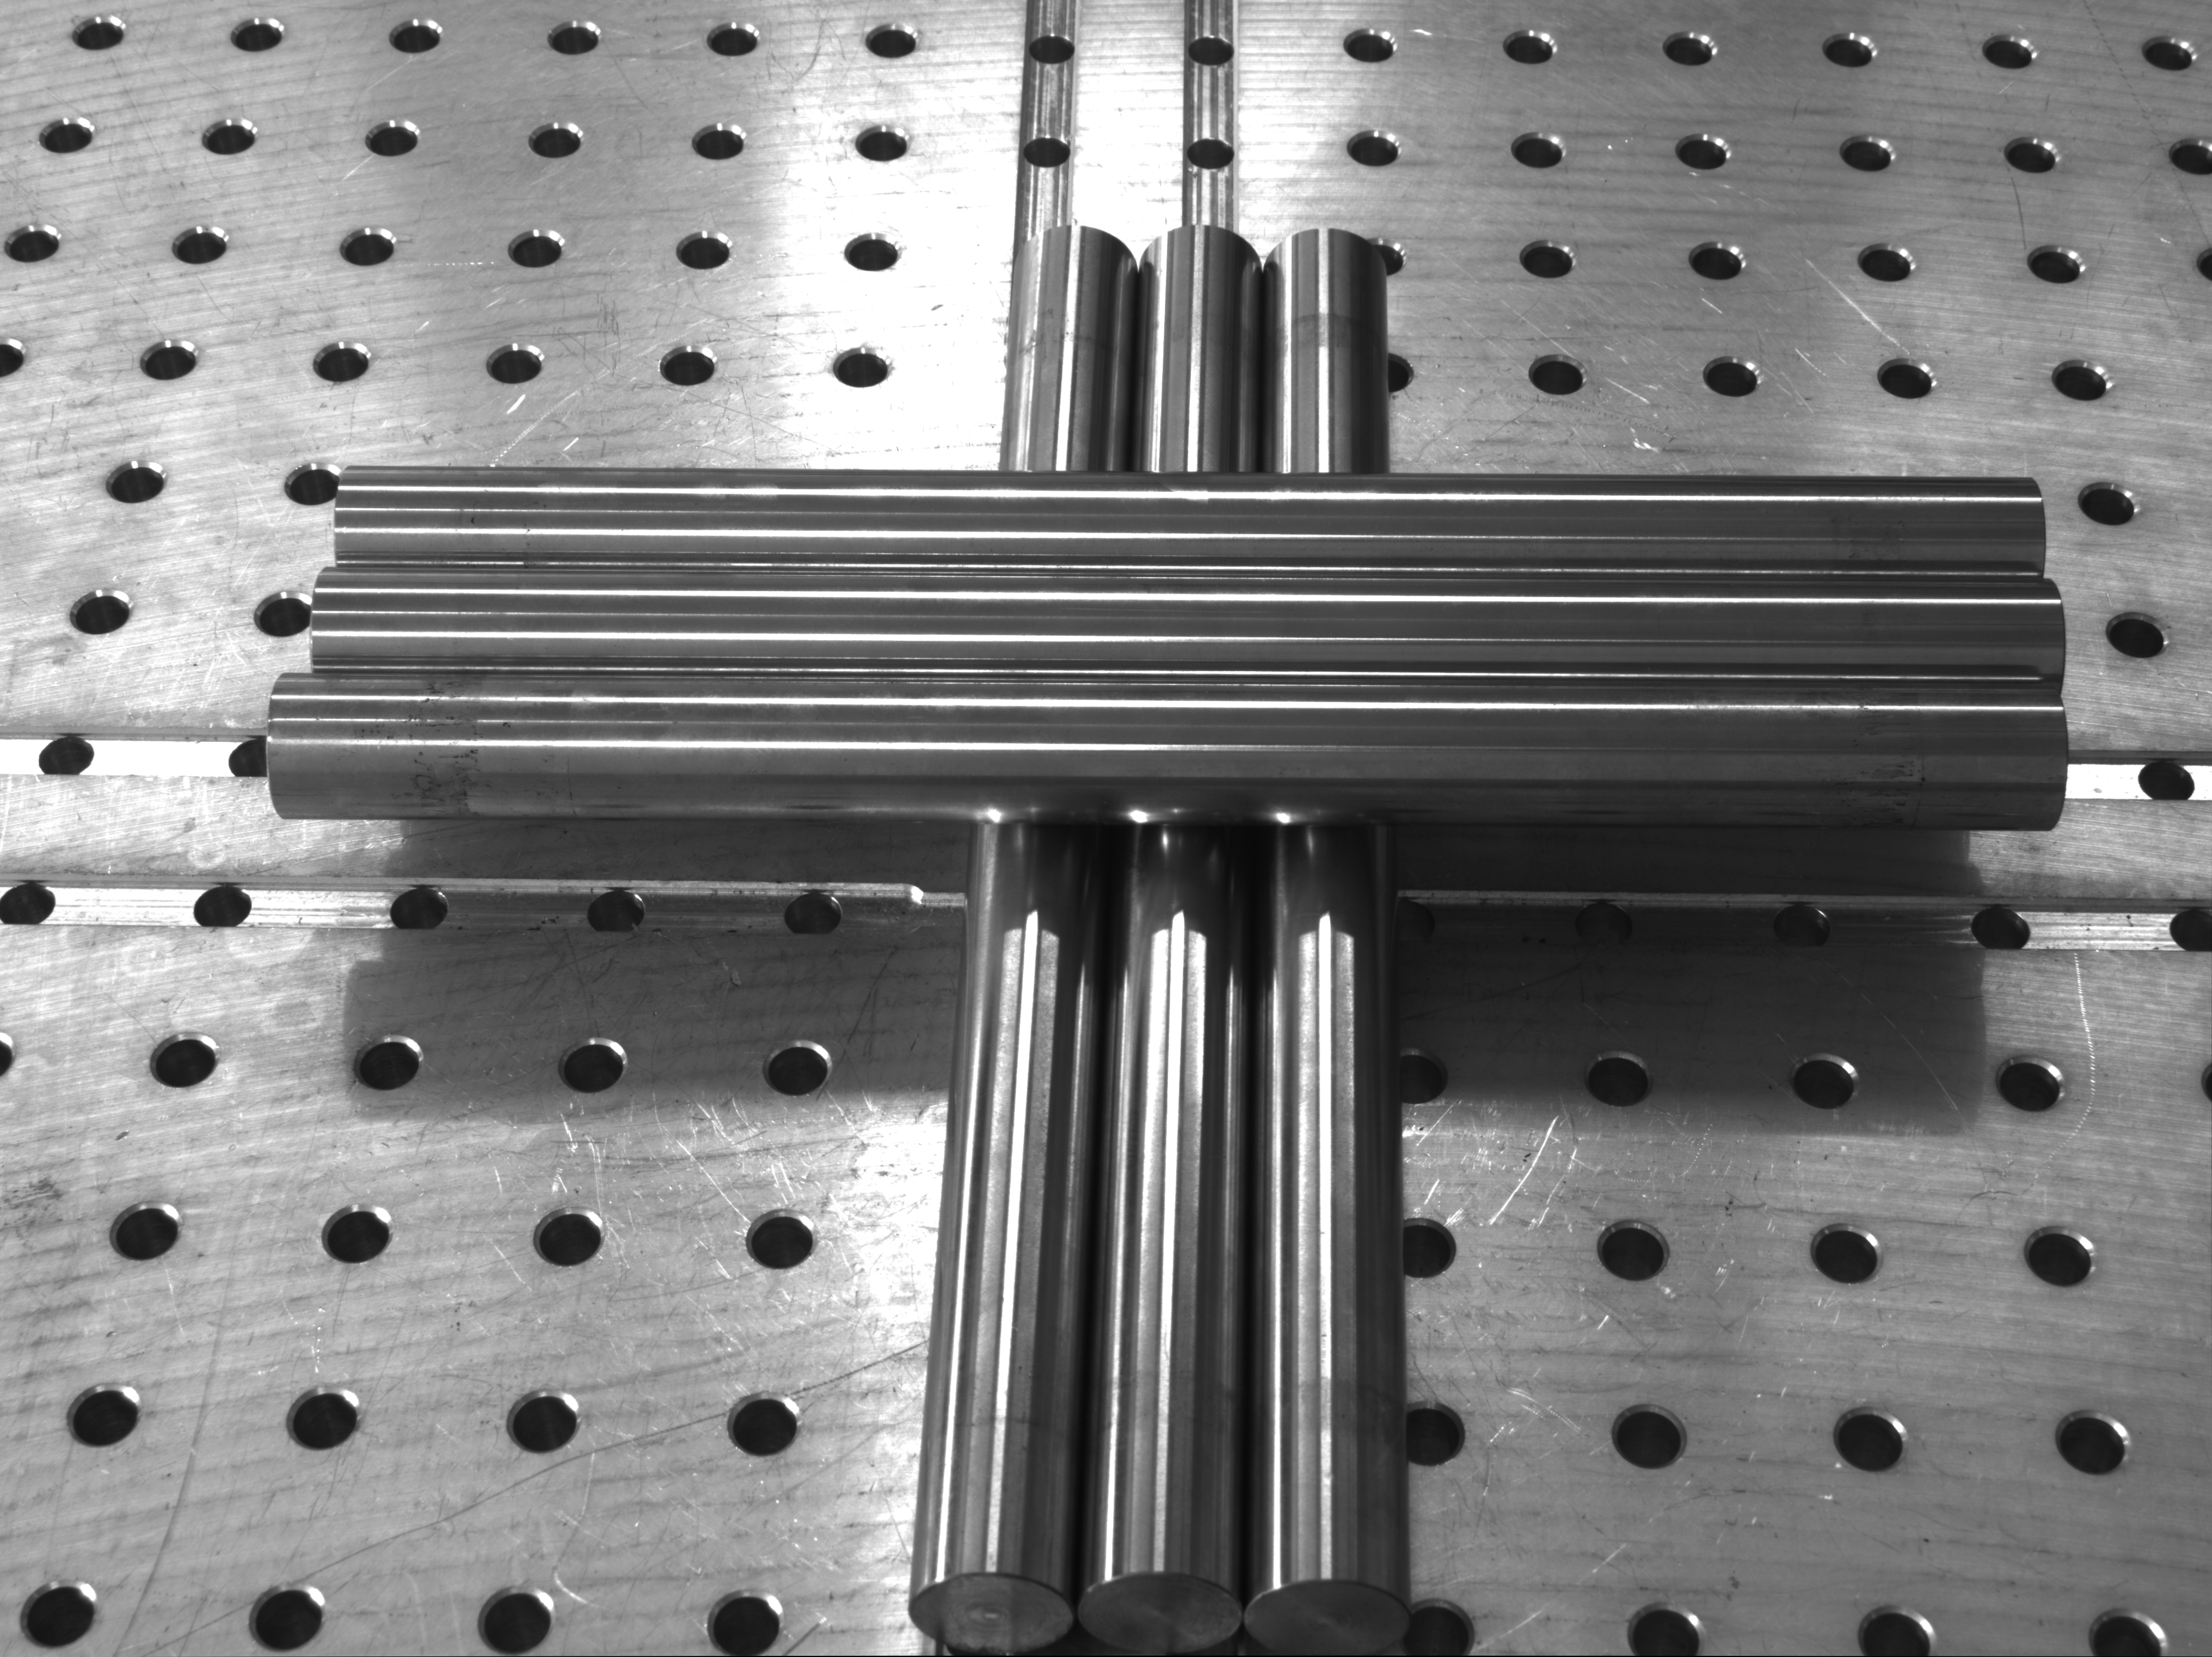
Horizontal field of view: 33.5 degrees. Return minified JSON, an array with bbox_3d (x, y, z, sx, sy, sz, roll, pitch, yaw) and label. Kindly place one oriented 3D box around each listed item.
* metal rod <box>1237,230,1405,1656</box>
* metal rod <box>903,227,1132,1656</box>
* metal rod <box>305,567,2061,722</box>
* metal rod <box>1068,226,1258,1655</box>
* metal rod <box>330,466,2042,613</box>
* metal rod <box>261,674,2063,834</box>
[{"bbox_3d":[0.038,0.004,0.643,0.025,0.025,0.300,2,50,2],"label":"metal rod"},{"bbox_3d":[-0.012,0.003,0.643,0.025,0.025,0.300,2,50,2],"label":"metal rod"},{"bbox_3d":[0.013,-0.032,0.640,0.300,0.025,0.025,0,50,0],"label":"metal rod"},{"bbox_3d":[0.013,0.003,0.644,0.025,0.025,0.300,2,50,2],"label":"metal rod"},{"bbox_3d":[0.014,-0.051,0.656,0.300,0.025,0.025,0,50,0],"label":"metal rod"},{"bbox_3d":[0.009,-0.013,0.624,0.300,0.025,0.025,0,50,0],"label":"metal rod"}]
